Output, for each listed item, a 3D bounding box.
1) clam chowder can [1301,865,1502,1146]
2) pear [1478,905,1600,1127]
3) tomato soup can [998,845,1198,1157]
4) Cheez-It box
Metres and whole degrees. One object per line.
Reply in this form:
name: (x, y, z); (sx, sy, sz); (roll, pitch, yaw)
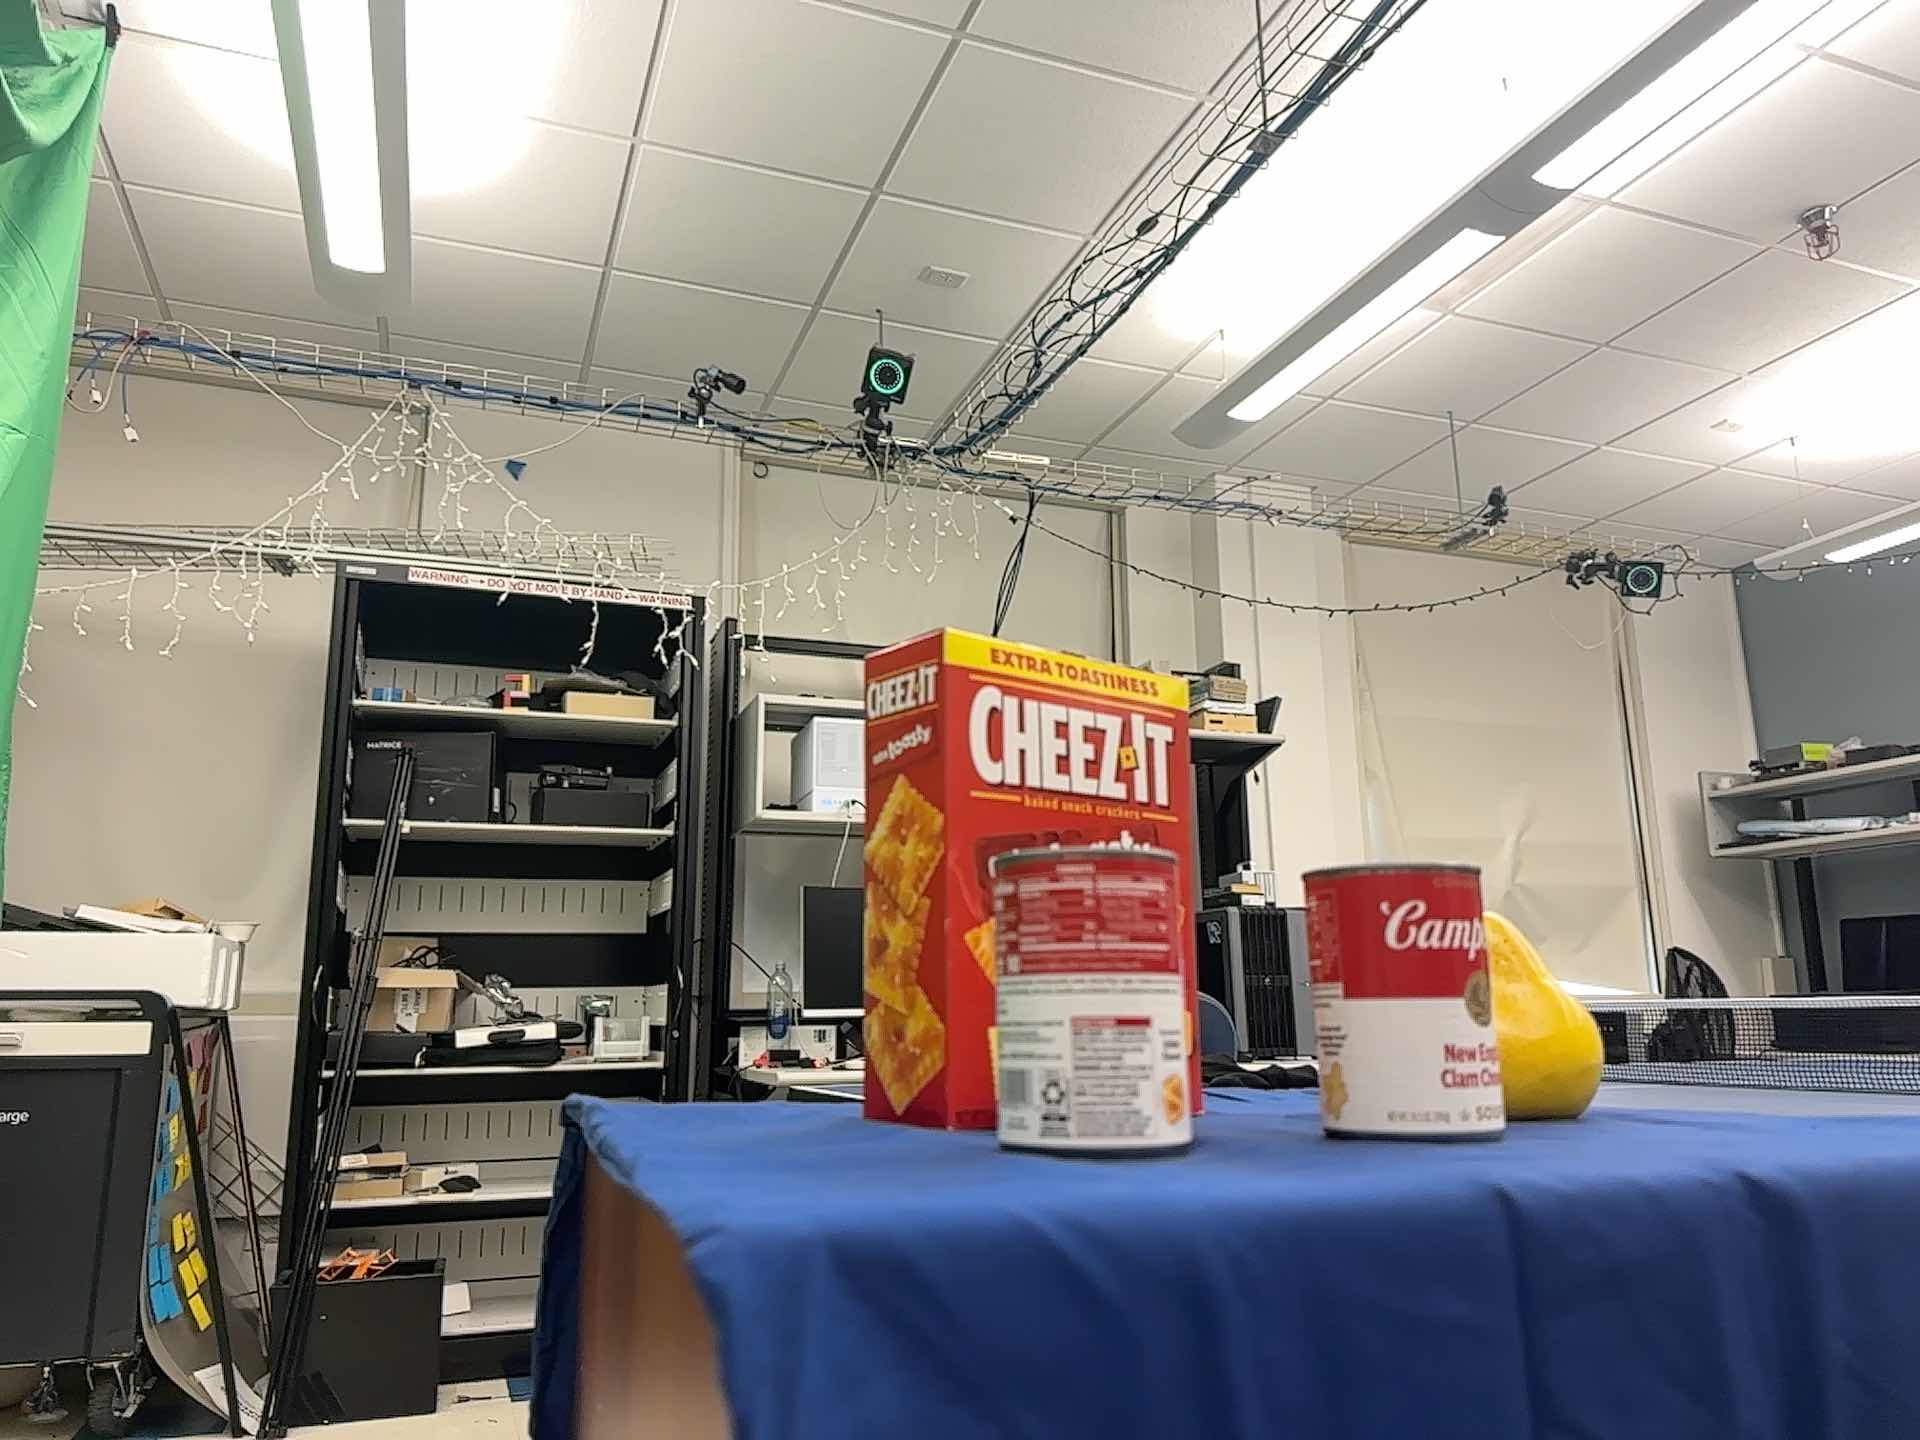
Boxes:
clam chowder can: (0.172, 0.110, 0.527); (0.068, 0.102, 0.068); (-1, -12, 0)
pear: (0.245, 0.126, 0.612); (0.080, 0.111, 0.080); (2, -12, 0)
tomato soup can: (0.049, 0.098, 0.475); (0.067, 0.102, 0.067); (-1, -13, 0)
Cheez-It box: (0.034, 0.079, 0.640); (0.159, 0.214, 0.062); (9, -14, -38)
